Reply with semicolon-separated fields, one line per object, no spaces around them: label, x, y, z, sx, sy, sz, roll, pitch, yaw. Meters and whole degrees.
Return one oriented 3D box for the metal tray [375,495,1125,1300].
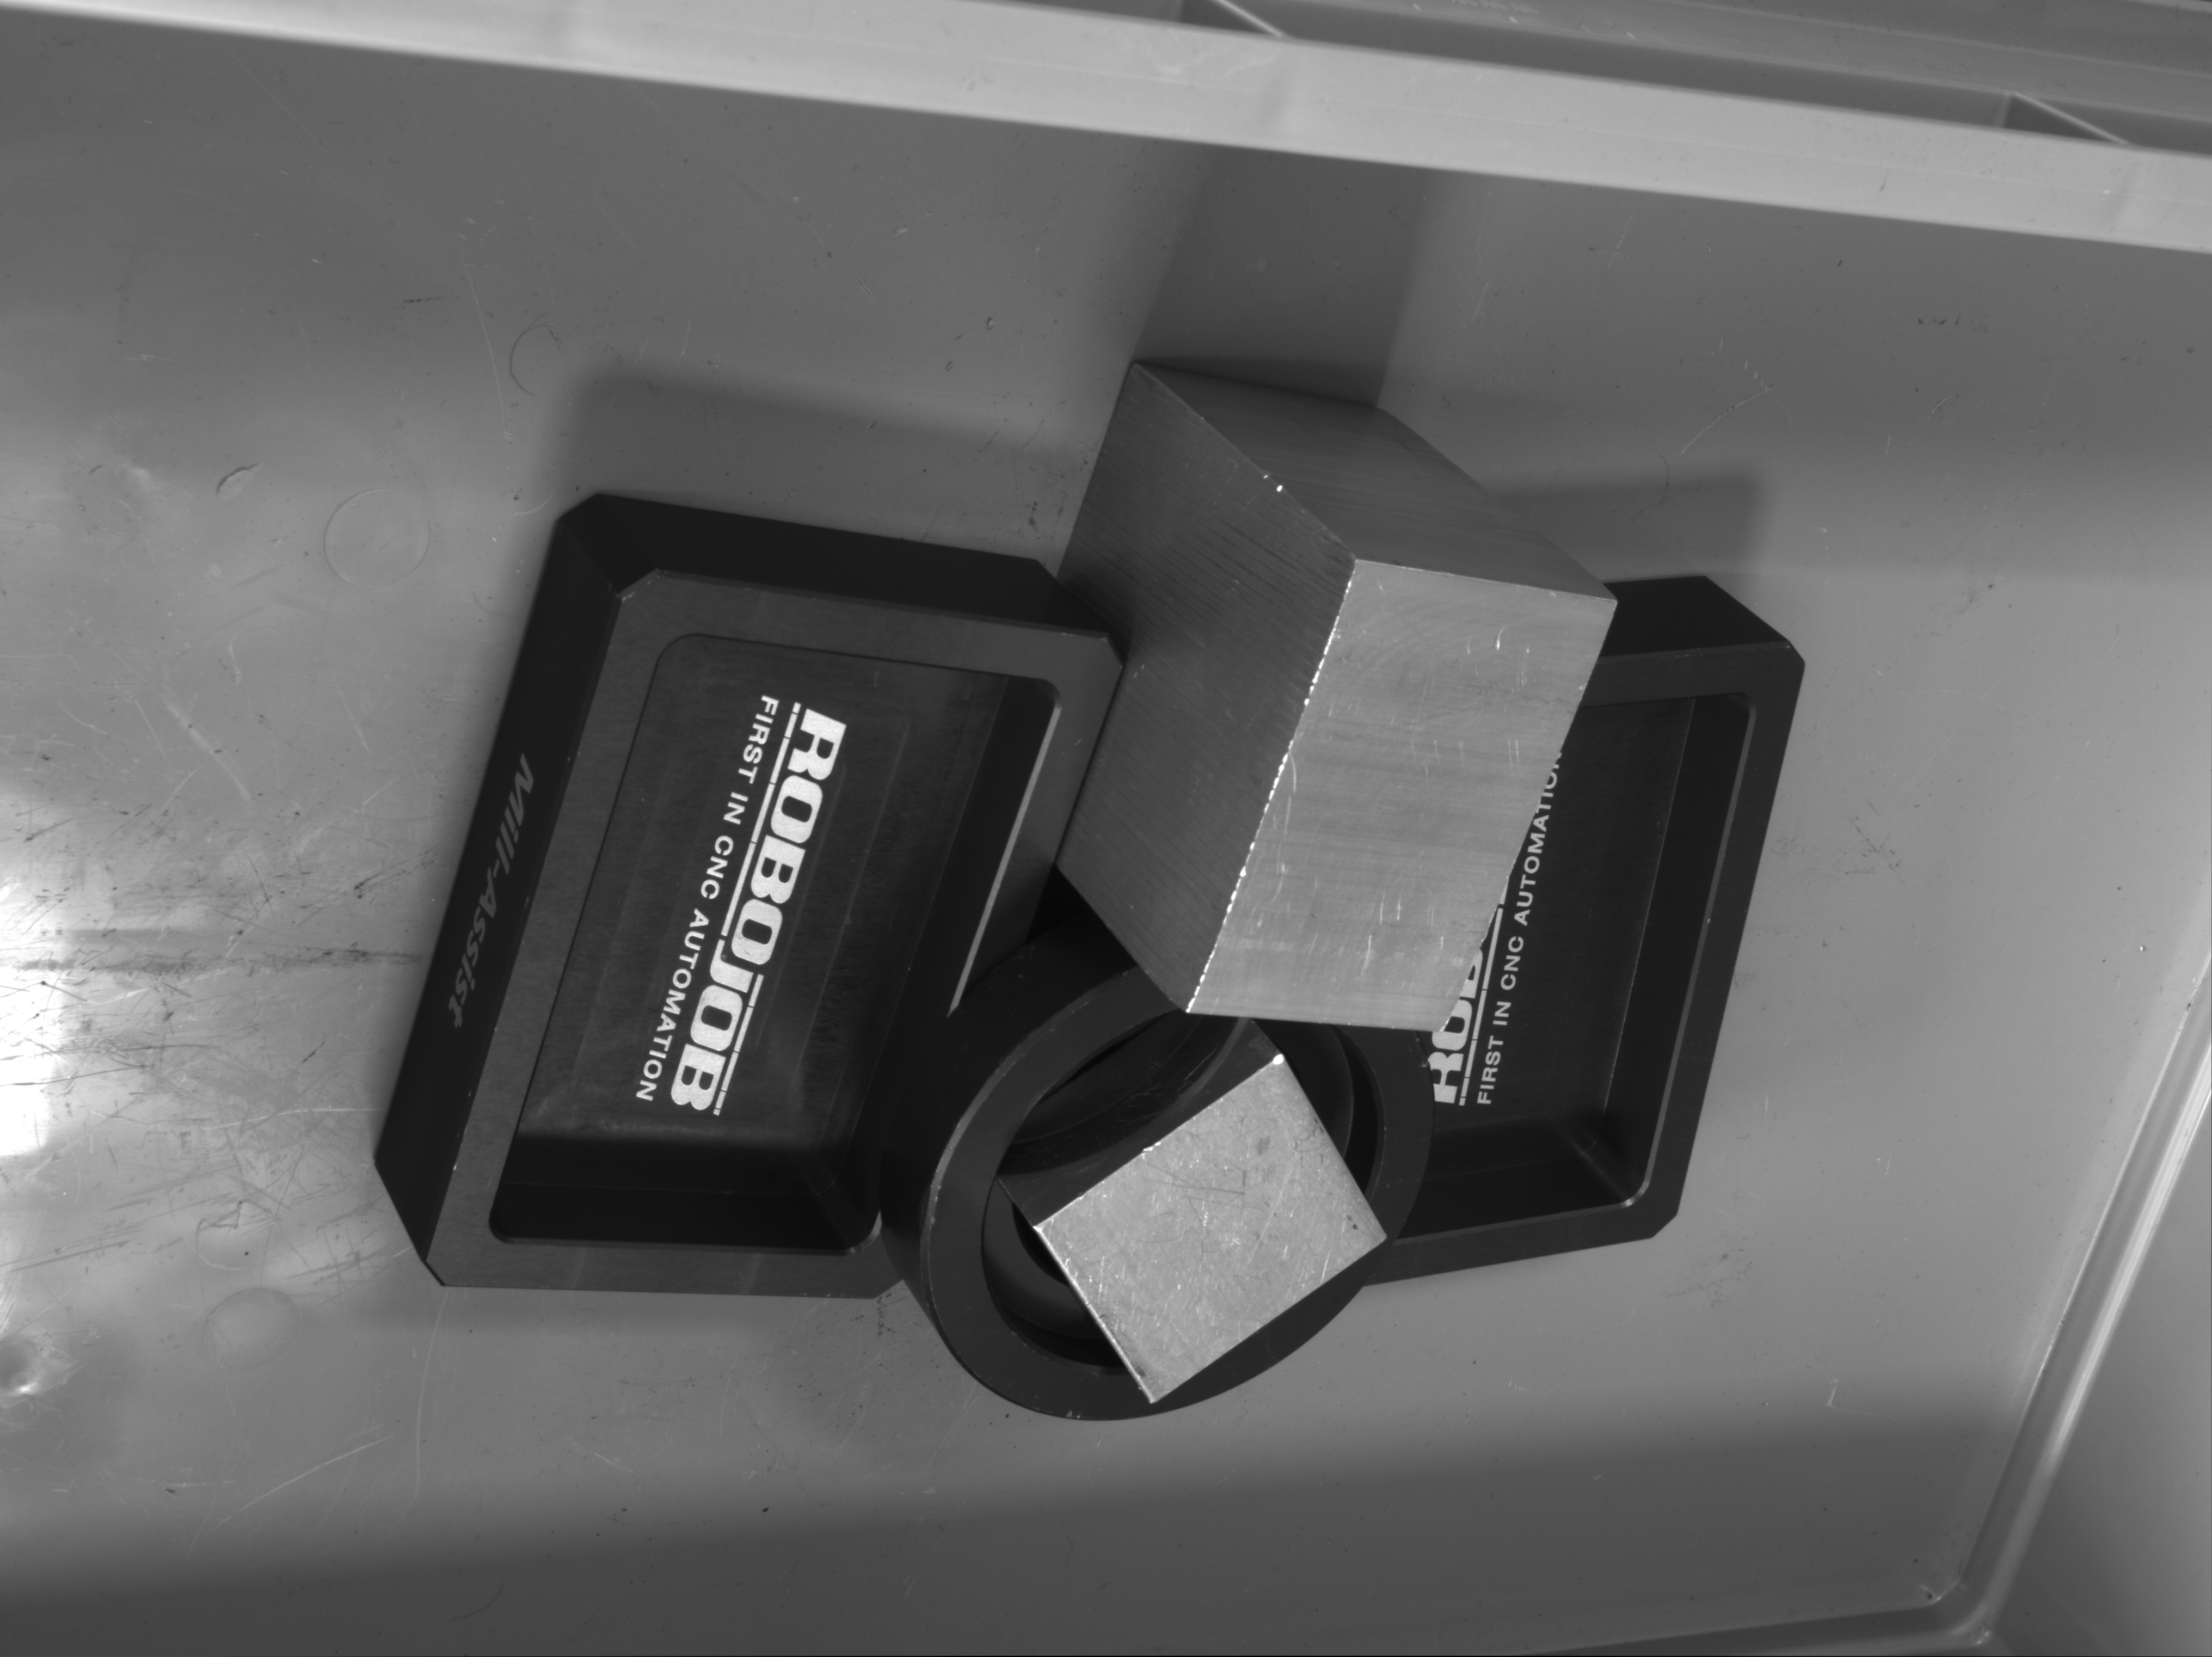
metal tray;-0.060;0.015;0.609;0.090;0.030;0.130;6;115;-31

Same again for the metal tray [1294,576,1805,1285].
metal tray;0.073;0.021;0.684;0.090;0.030;0.130;-6;121;-25

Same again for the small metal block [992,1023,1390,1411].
small metal block;0.014;0.063;0.627;0.050;0.025;0.050;-34;129;-6

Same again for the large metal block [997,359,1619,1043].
large metal block;0.029;-0.021;0.603;0.050;0.080;0.080;6;115;-31

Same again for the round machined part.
round machined part;0.006;0.053;0.648;0.098;0.042;0.098;-13;124;-21
